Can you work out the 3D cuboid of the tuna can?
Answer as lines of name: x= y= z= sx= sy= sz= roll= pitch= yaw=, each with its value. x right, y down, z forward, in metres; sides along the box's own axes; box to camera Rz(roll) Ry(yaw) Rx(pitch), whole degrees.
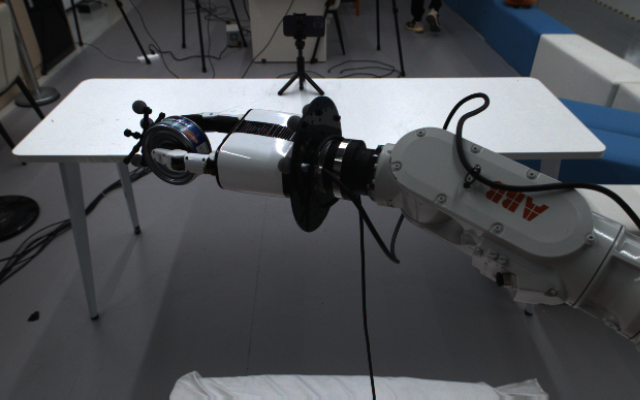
tuna can: x=-0.183 y=-0.060 z=0.621 sx=0.085 sy=0.085 sz=0.034 roll=13 pitch=31 yaw=15
